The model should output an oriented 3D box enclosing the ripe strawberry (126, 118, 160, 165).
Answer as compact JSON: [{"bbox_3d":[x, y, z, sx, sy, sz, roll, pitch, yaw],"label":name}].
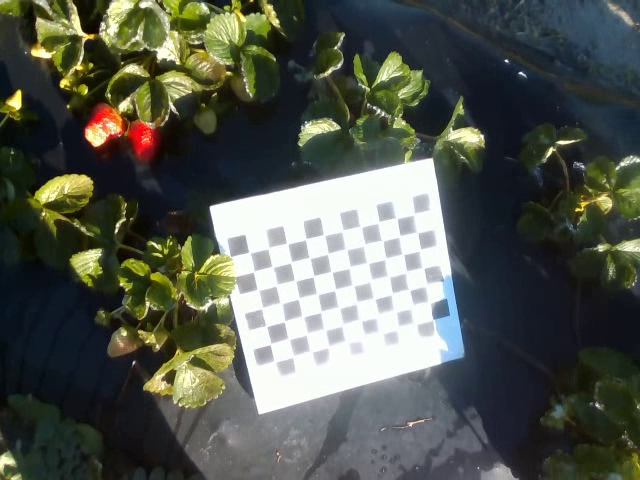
[{"bbox_3d":[-0.246,-0.140,0.797,0.043,0.059,0.040,-13,5,-7],"label":"ripe strawberry"}]

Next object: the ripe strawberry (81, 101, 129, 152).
[{"bbox_3d":[-0.299,-0.153,0.796,0.052,0.070,0.040,34,-6,-19],"label":"ripe strawberry"}]
